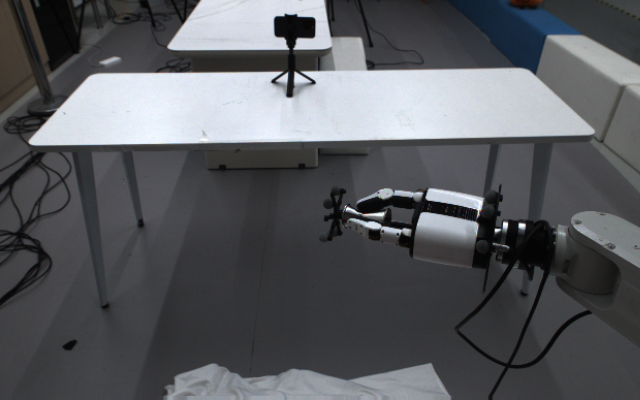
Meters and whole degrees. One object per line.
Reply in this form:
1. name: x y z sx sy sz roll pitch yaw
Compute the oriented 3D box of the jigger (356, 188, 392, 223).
1. jigger: 0.078 0.025 0.749 0.071 0.043 0.043 8 34 23
